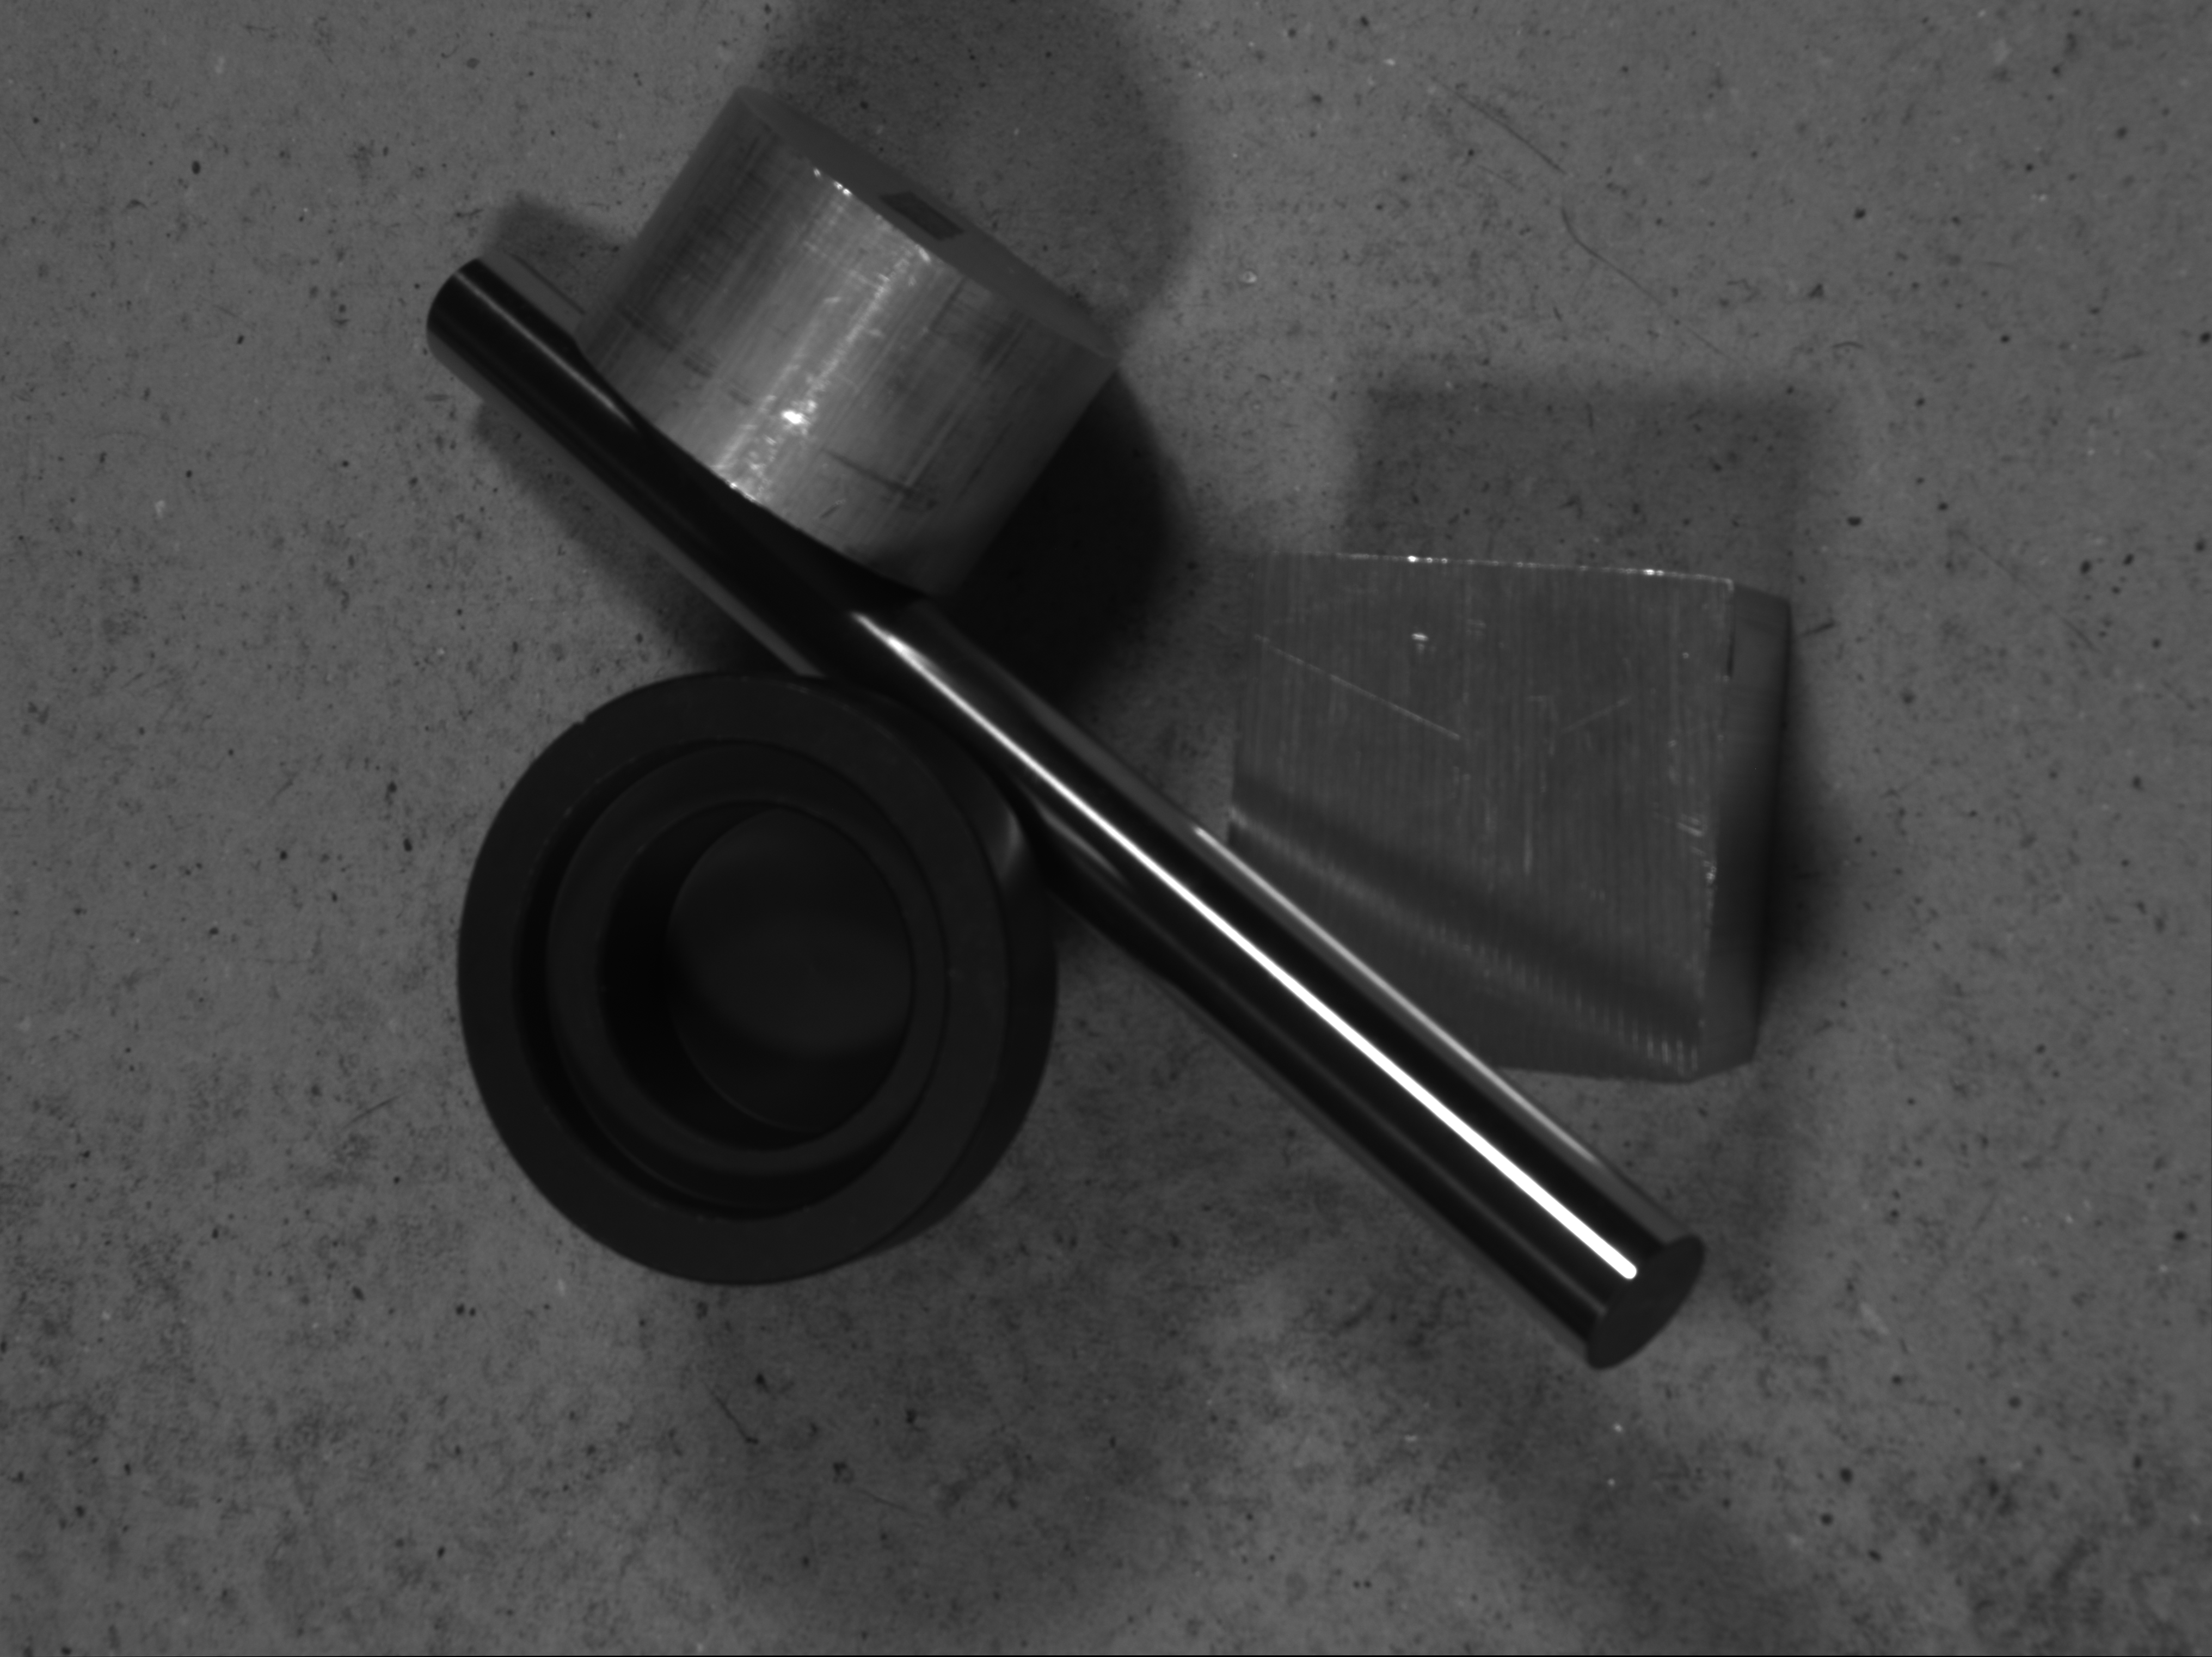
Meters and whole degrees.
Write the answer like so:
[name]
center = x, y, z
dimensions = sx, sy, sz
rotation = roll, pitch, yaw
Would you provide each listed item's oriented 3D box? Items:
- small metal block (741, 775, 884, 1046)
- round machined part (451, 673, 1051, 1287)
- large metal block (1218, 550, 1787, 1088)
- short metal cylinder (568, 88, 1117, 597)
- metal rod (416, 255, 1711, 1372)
[small metal block]
center = -0.042, 0.012, 0.647
dimensions = 0.025, 0.050, 0.050
rotation = -2, 89, 20
[round machined part]
center = -0.054, 0.024, 0.602
dimensions = 0.098, 0.042, 0.098
rotation = 0, 91, 20
[large metal block]
center = 0.066, -0.002, 0.608
dimensions = 0.080, 0.050, 0.080
rotation = 5, 91, 20
[short metal cylinder]
center = -0.045, -0.084, 0.632
dimensions = 0.080, 0.080, 0.050
rotation = 39, 102, 16
[metal rod]
center = -0.019, -0.013, 0.612
dimensions = 0.299, 0.025, 0.025
rotation = 40, 103, 30
